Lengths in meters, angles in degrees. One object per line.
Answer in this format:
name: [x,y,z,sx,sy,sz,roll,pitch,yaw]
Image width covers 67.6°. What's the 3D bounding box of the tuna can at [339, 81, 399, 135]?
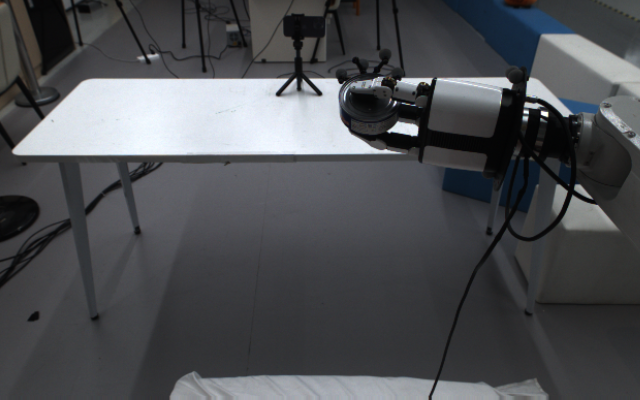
tuna can: [0.068,-0.132,0.662,0.085,0.034,0.085,-1,58,2]
